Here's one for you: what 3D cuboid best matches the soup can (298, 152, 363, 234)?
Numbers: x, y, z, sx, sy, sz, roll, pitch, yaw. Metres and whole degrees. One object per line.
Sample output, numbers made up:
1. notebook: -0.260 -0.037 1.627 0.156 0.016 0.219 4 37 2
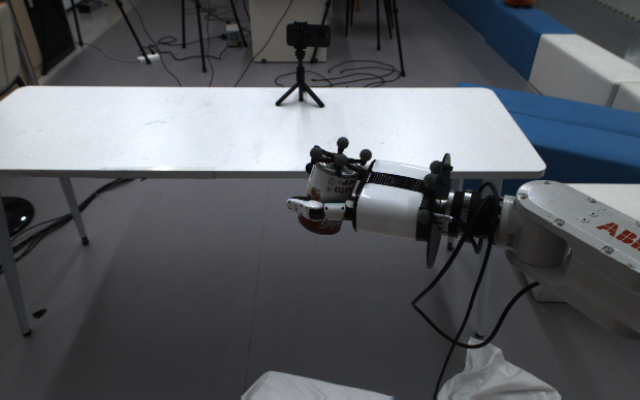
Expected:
1. soup can: 0.013 -0.009 0.702 0.067 0.101 0.067 13 30 -8
